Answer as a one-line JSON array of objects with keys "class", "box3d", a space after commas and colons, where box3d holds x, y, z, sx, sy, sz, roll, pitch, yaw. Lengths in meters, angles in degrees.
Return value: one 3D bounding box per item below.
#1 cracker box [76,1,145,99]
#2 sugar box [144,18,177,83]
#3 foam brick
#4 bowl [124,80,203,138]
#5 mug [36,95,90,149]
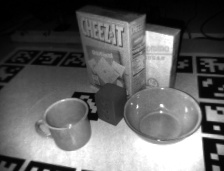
[{"class": "cracker box", "box3d": [-0.002, -0.086, 0.550, 0.162, 0.215, 0.072, 26, 47, 35]}, {"class": "sugar box", "box3d": [0.110, -0.074, 0.546, 0.091, 0.178, 0.045, 18, 45, 30]}, {"class": "foam brick", "box3d": [-0.002, 0.033, 0.515, 0.052, 0.078, 0.051, 14, 42, 26]}, {"class": "bowl", "box3d": [0.108, 0.057, 0.462, 0.161, 0.055, 0.161, -4, 39, 4]}, {"class": "mug", "box3d": [-0.105, 0.078, 0.457, 0.117, 0.082, 0.093, -4, 30, 8]}]
